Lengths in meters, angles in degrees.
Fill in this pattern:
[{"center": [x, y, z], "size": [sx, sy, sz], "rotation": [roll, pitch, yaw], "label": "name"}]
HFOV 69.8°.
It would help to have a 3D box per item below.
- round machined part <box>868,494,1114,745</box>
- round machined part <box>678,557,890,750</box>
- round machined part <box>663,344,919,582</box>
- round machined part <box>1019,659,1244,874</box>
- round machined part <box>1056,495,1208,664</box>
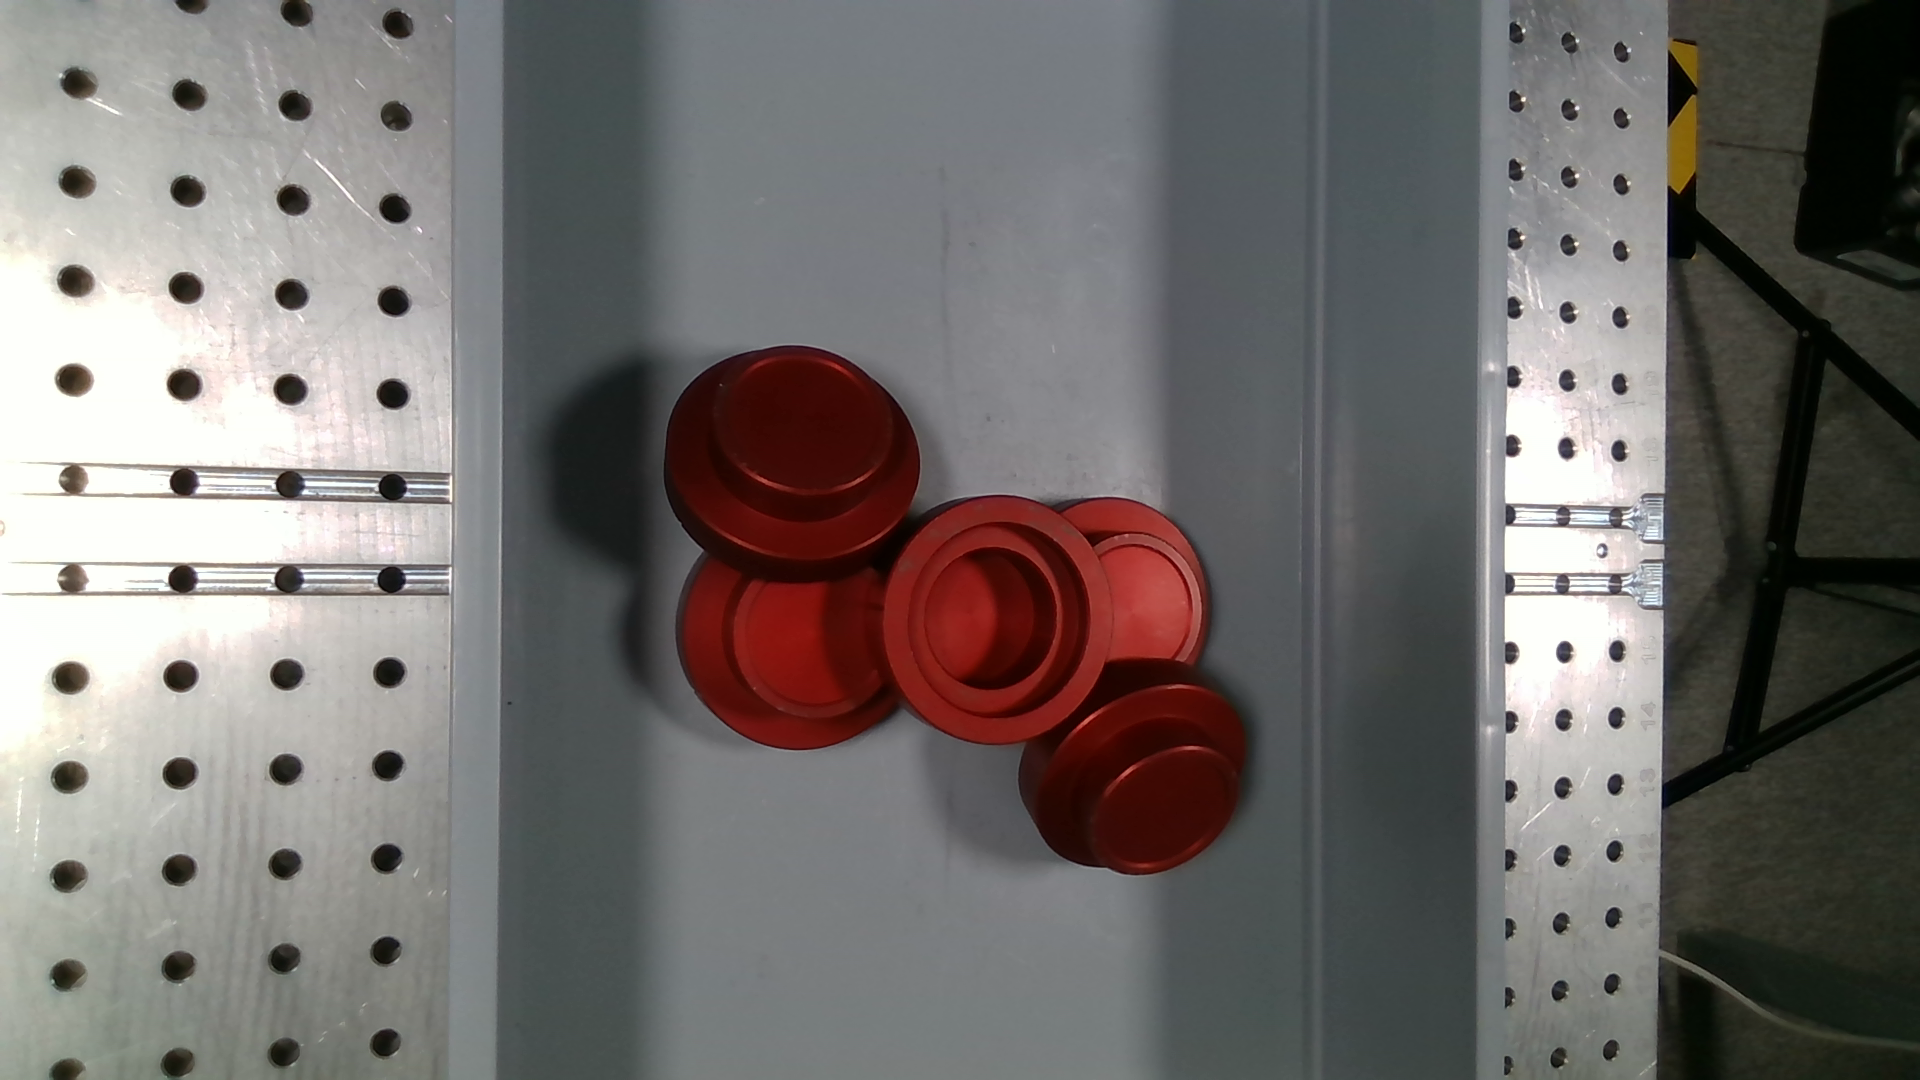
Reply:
[{"center": [0.009, 0.031, 0.556], "size": [0.098, 0.042, 0.098], "rotation": [0, 90, -20], "label": "round machined part"}, {"center": [-0.062, 0.035, 0.553], "size": [0.098, 0.042, 0.098], "rotation": [0, 90, -20], "label": "round machined part"}, {"center": [-0.063, -0.036, 0.530], "size": [0.098, 0.042, 0.098], "rotation": [7, 59, -12], "label": "round machined part"}, {"center": [0.077, 0.102, 0.582], "size": [0.098, 0.042, 0.098], "rotation": [-11, 124, -17], "label": "round machined part"}, {"center": [0.066, 0.029, 0.600], "size": [0.098, 0.042, 0.098], "rotation": [0, 90, -20], "label": "round machined part"}]
